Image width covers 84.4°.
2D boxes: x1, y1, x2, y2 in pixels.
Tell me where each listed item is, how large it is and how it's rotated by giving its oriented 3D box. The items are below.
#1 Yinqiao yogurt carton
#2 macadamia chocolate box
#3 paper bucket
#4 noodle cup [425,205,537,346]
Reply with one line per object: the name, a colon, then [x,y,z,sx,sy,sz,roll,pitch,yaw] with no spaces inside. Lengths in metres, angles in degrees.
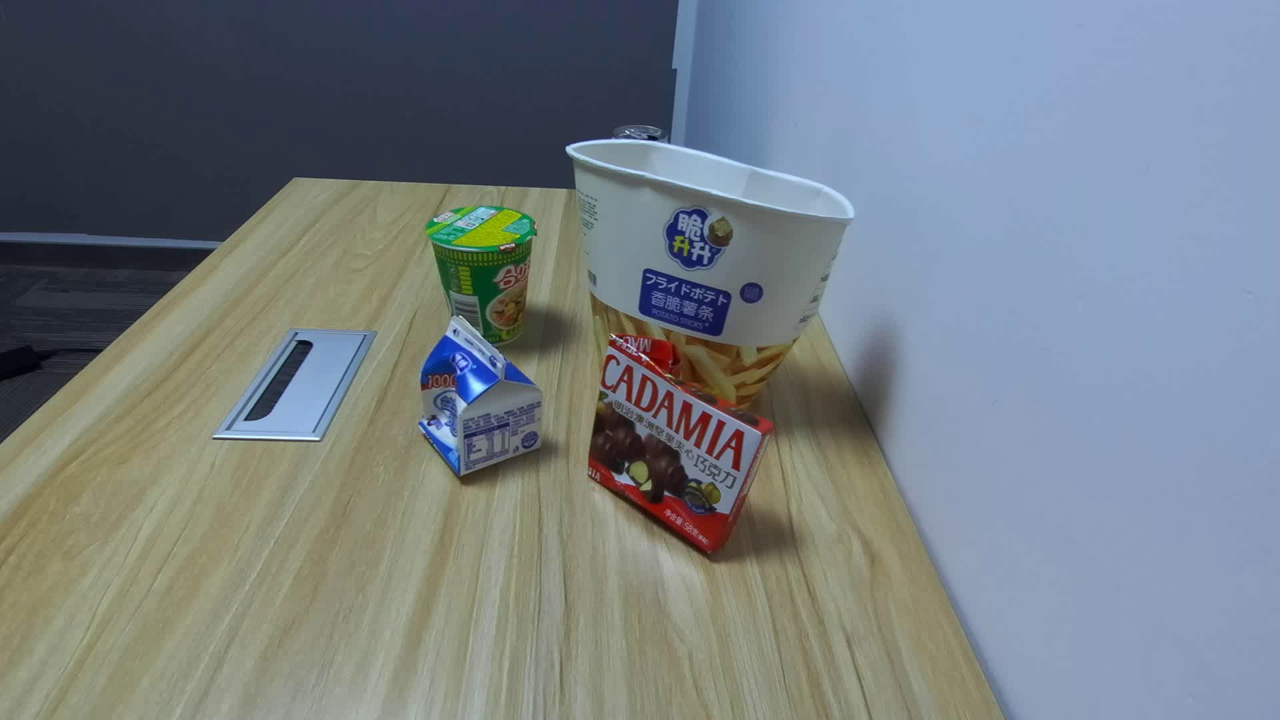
Yinqiao yogurt carton: [-0.121,0.023,0.537,0.071,0.094,0.077,-15,37,-37]
macadamia chocolate box: [0.024,0.054,0.486,0.126,0.112,0.056,29,40,33]
paper bucket: [0.040,-0.066,0.586,0.218,0.199,0.147,4,33,0]
noodle cup: [-0.146,-0.074,0.662,0.097,0.110,0.097,4,33,-2]
